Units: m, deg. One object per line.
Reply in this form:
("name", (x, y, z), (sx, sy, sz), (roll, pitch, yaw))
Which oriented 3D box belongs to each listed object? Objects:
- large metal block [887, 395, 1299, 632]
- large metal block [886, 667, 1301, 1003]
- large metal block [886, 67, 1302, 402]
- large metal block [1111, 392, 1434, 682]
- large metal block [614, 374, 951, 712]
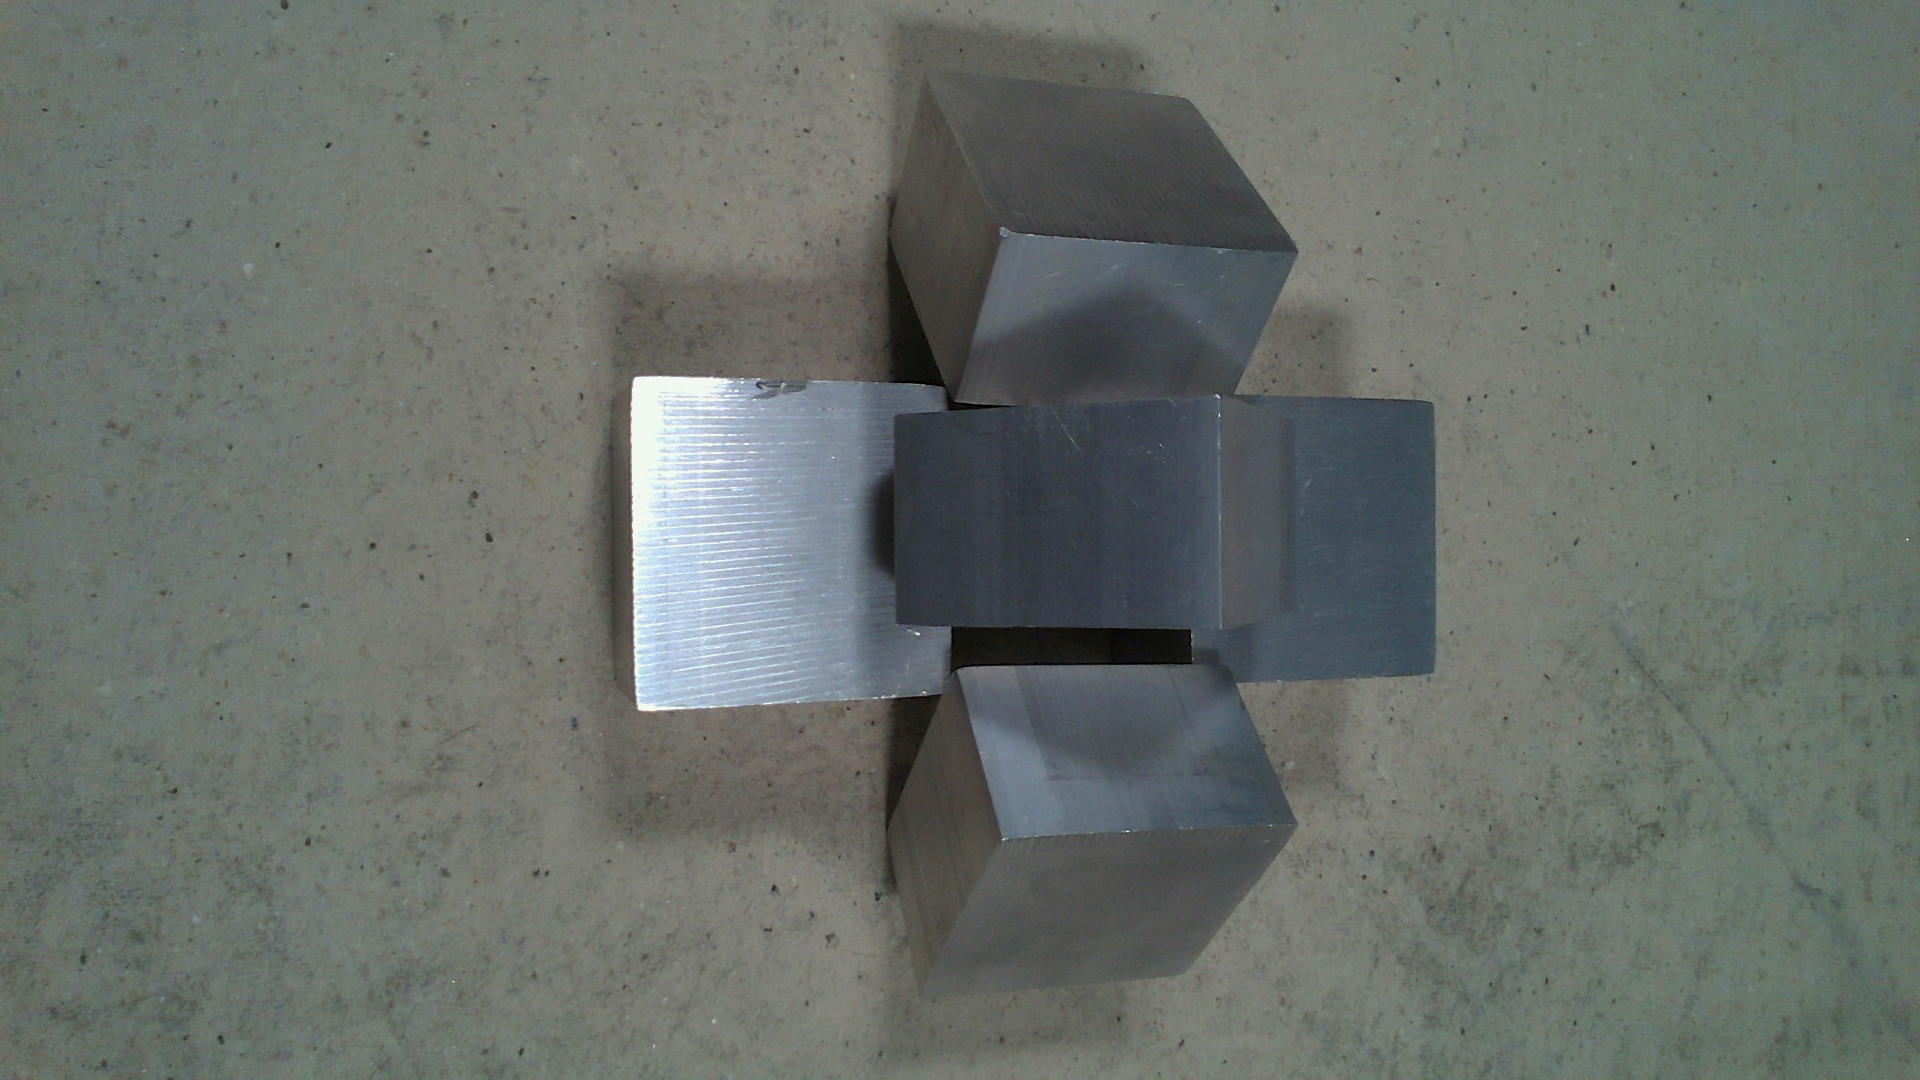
("large metal block", (0.036, -0.006, 0.343), (0.080, 0.080, 0.050), (0, 90, 24))
("large metal block", (0.031, 0.079, 0.369), (0.080, 0.080, 0.050), (1, 46, -19))
("large metal block", (0.031, -0.081, 0.369), (0.080, 0.080, 0.050), (0, 134, -20))
("large metal block", (0.092, -0.001, 0.411), (0.080, 0.050, 0.080), (0, 90, -20))
("large metal block", (-0.049, 0.000, 0.362), (0.080, 0.050, 0.080), (-1, 90, -20))
